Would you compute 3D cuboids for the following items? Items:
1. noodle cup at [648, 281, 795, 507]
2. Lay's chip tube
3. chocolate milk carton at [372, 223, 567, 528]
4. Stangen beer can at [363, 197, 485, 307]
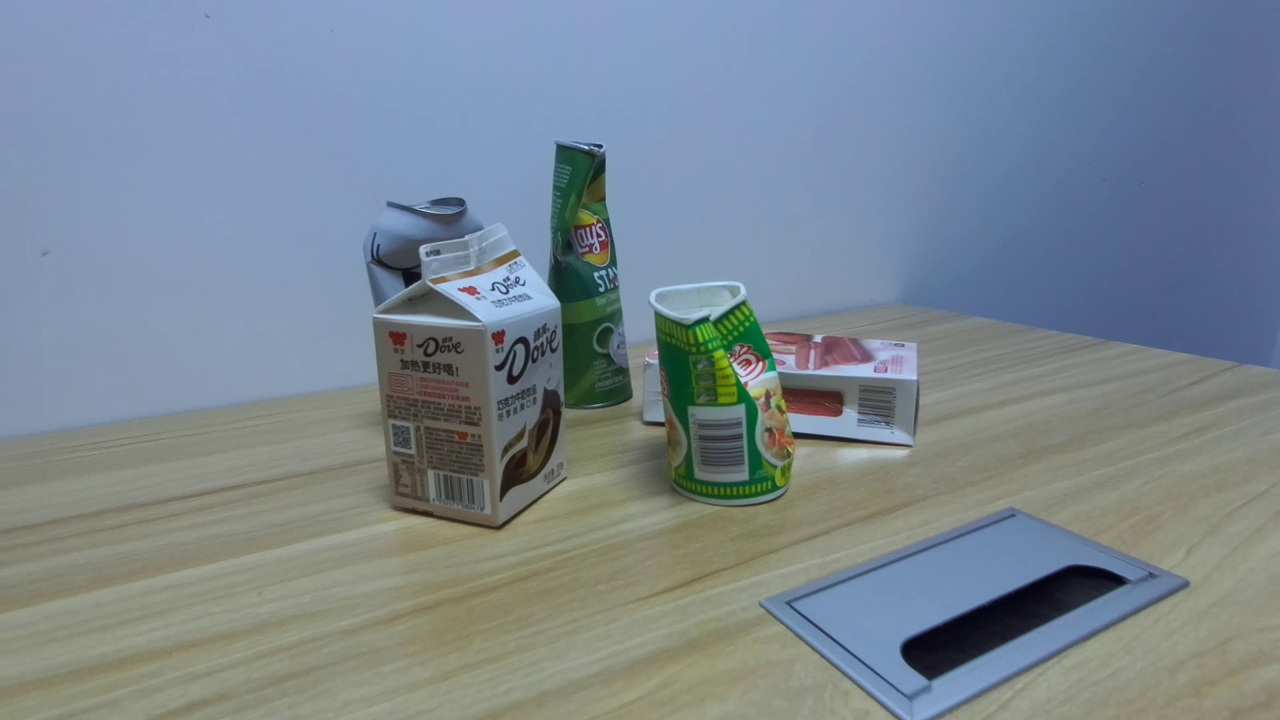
[{"bbox_3d":[0.048,0.016,0.395,0.083,0.122,0.075,-23,16,-30],"label":"noodle cup"},{"bbox_3d":[-0.043,-0.067,0.553,0.069,0.201,0.077,-8,18,-23],"label":"Lay's chip tube"},{"bbox_3d":[-0.090,0.004,0.388,0.074,0.148,0.075,6,16,22],"label":"chocolate milk carton"},{"bbox_3d":[-0.146,-0.032,0.498,0.066,0.162,0.077,4,19,-2],"label":"Stangen beer can"}]
